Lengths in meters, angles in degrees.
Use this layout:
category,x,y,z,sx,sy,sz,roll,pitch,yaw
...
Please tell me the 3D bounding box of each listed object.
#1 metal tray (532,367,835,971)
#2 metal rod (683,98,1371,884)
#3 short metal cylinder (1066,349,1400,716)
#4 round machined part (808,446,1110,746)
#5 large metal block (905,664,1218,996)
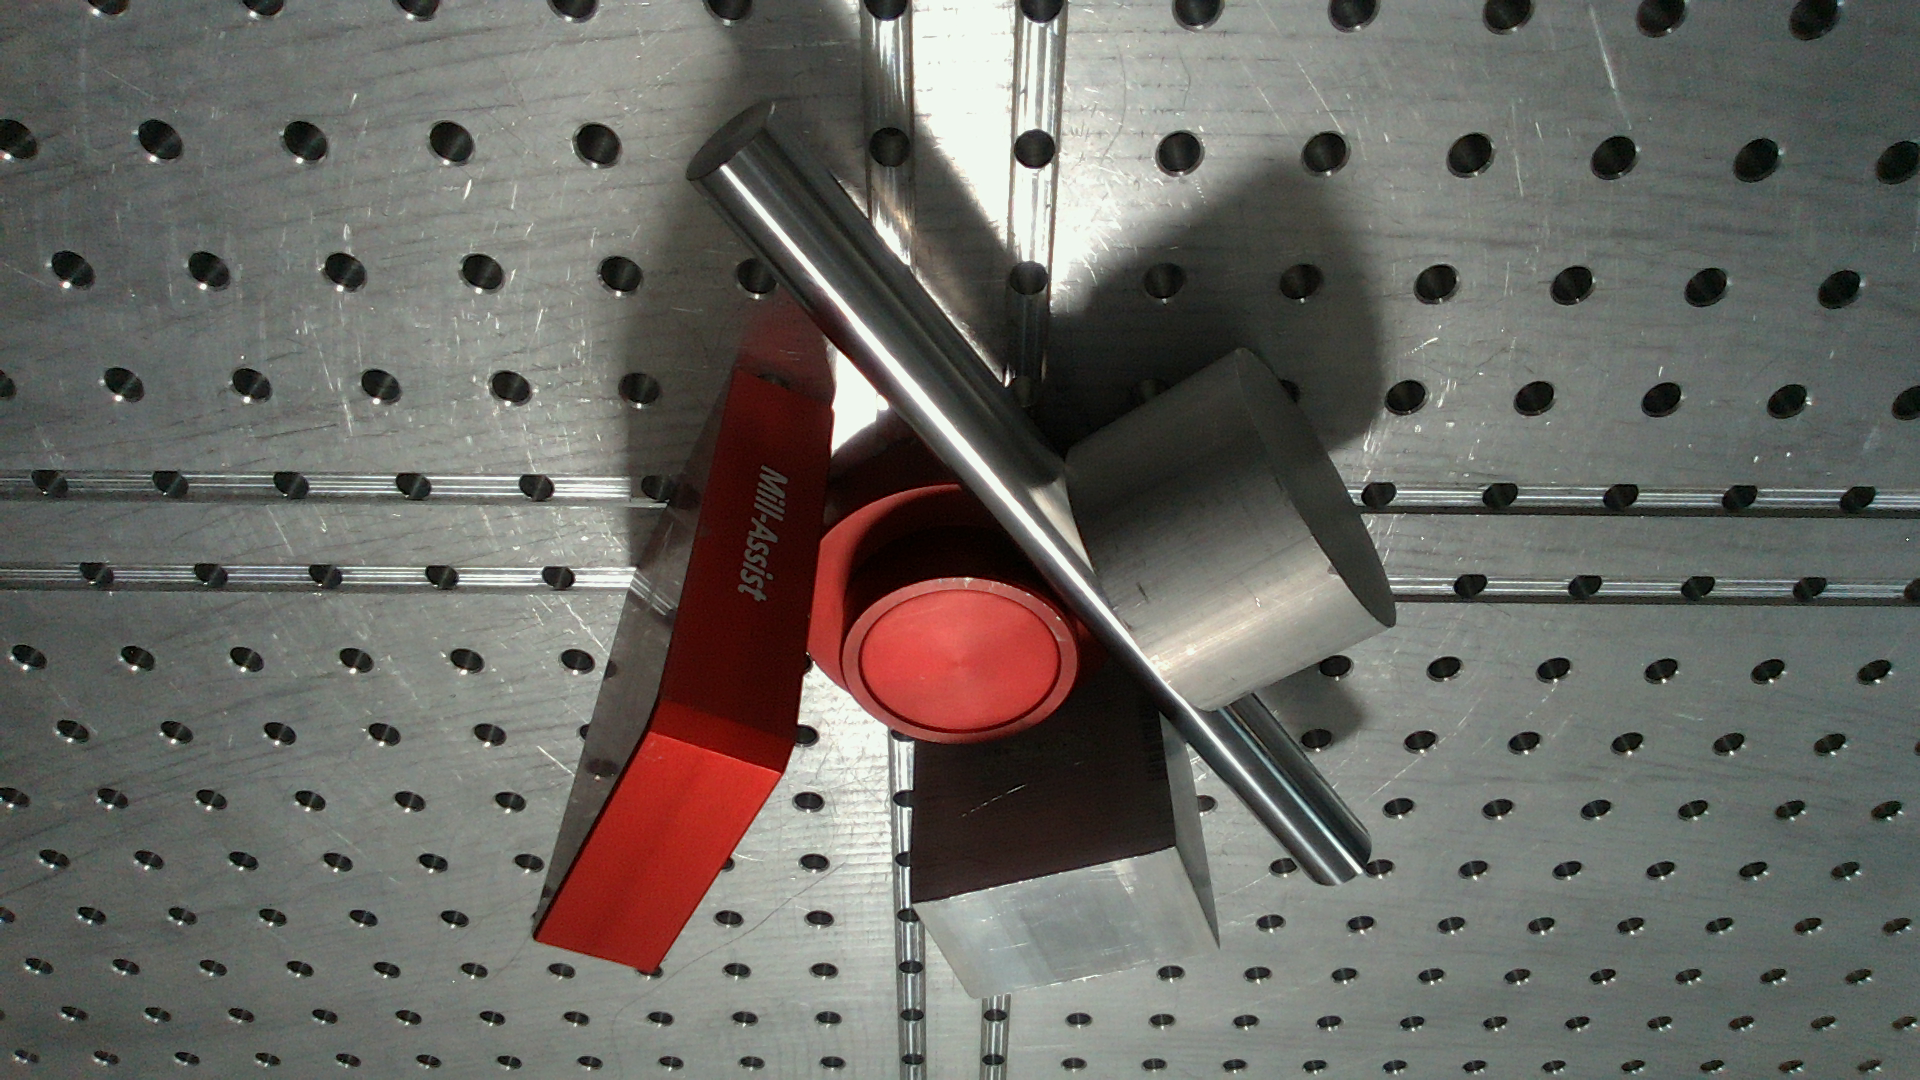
category,x,y,z,sx,sy,sz,roll,pitch,yaw
metal tray,-0.067,0.028,0.349,0.030,0.130,0.090,21,127,-17
metal rod,0.037,0.008,0.373,0.025,0.025,0.301,-28,125,22
short metal cylinder,0.071,-0.002,0.355,0.050,0.080,0.080,-30,124,23
round machined part,0.000,0.022,0.401,0.098,0.042,0.098,0,130,0
large metal block,0.030,0.087,0.431,0.080,0.080,0.050,-15,129,12
